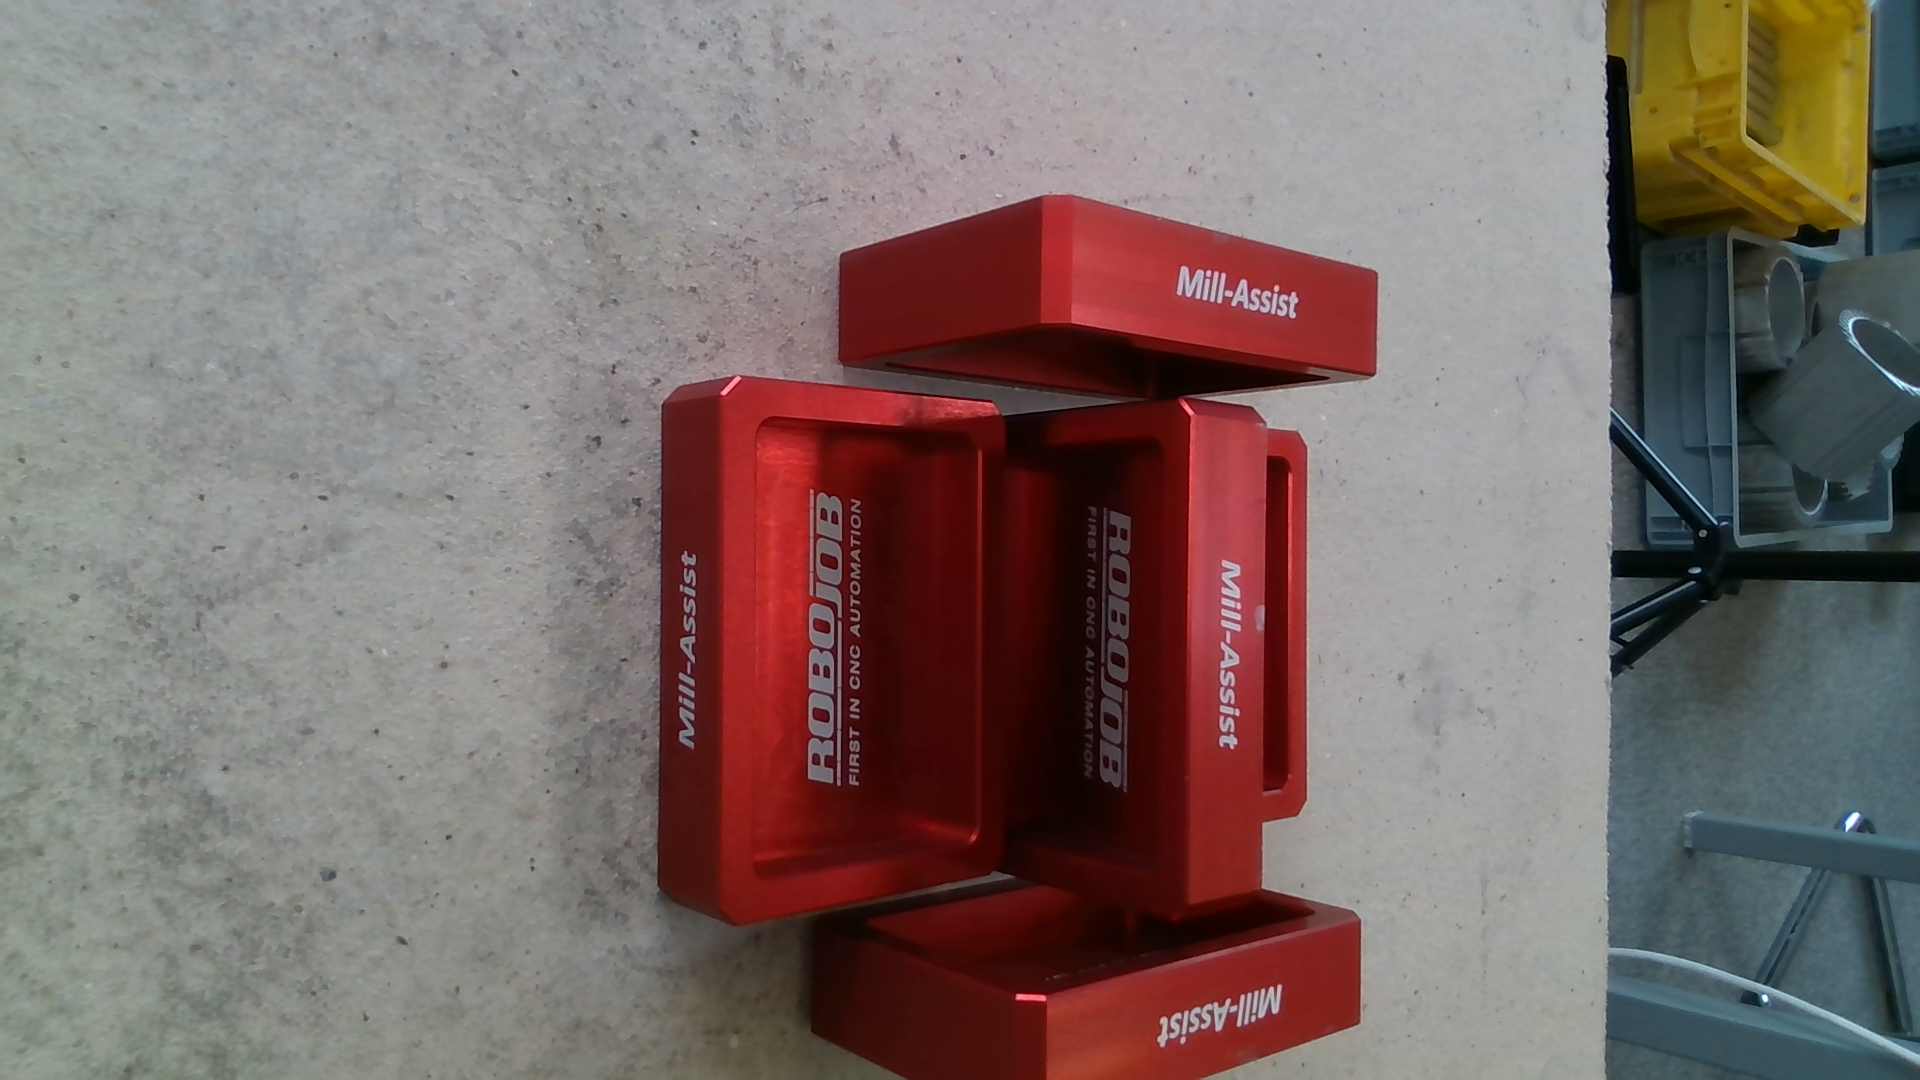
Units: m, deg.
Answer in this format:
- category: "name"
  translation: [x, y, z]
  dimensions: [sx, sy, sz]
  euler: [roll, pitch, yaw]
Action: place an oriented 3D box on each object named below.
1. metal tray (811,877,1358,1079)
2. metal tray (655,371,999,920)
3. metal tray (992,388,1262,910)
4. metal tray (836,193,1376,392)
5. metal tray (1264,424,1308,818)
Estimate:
- category: "metal tray"
  translation: [0.036, 0.118, 0.379]
  dimensions: [0.130, 0.090, 0.030]
  euler: [2, 89, -40]
- category: "metal tray"
  translation: [-0.033, 0.025, 0.362]
  dimensions: [0.090, 0.030, 0.130]
  euler: [1, 90, -41]
- category: "metal tray"
  translation: [0.038, 0.027, 0.383]
  dimensions: [0.030, 0.090, 0.130]
  euler: [1, 89, -39]
- category: "metal tray"
  translation: [0.042, -0.063, 0.384]
  dimensions: [0.130, 0.090, 0.030]
  euler: [1, 89, -40]
- category: "metal tray"
  translation: [0.073, 0.027, 0.450]
  dimensions: [0.090, 0.030, 0.130]
  euler: [0, 90, -37]
